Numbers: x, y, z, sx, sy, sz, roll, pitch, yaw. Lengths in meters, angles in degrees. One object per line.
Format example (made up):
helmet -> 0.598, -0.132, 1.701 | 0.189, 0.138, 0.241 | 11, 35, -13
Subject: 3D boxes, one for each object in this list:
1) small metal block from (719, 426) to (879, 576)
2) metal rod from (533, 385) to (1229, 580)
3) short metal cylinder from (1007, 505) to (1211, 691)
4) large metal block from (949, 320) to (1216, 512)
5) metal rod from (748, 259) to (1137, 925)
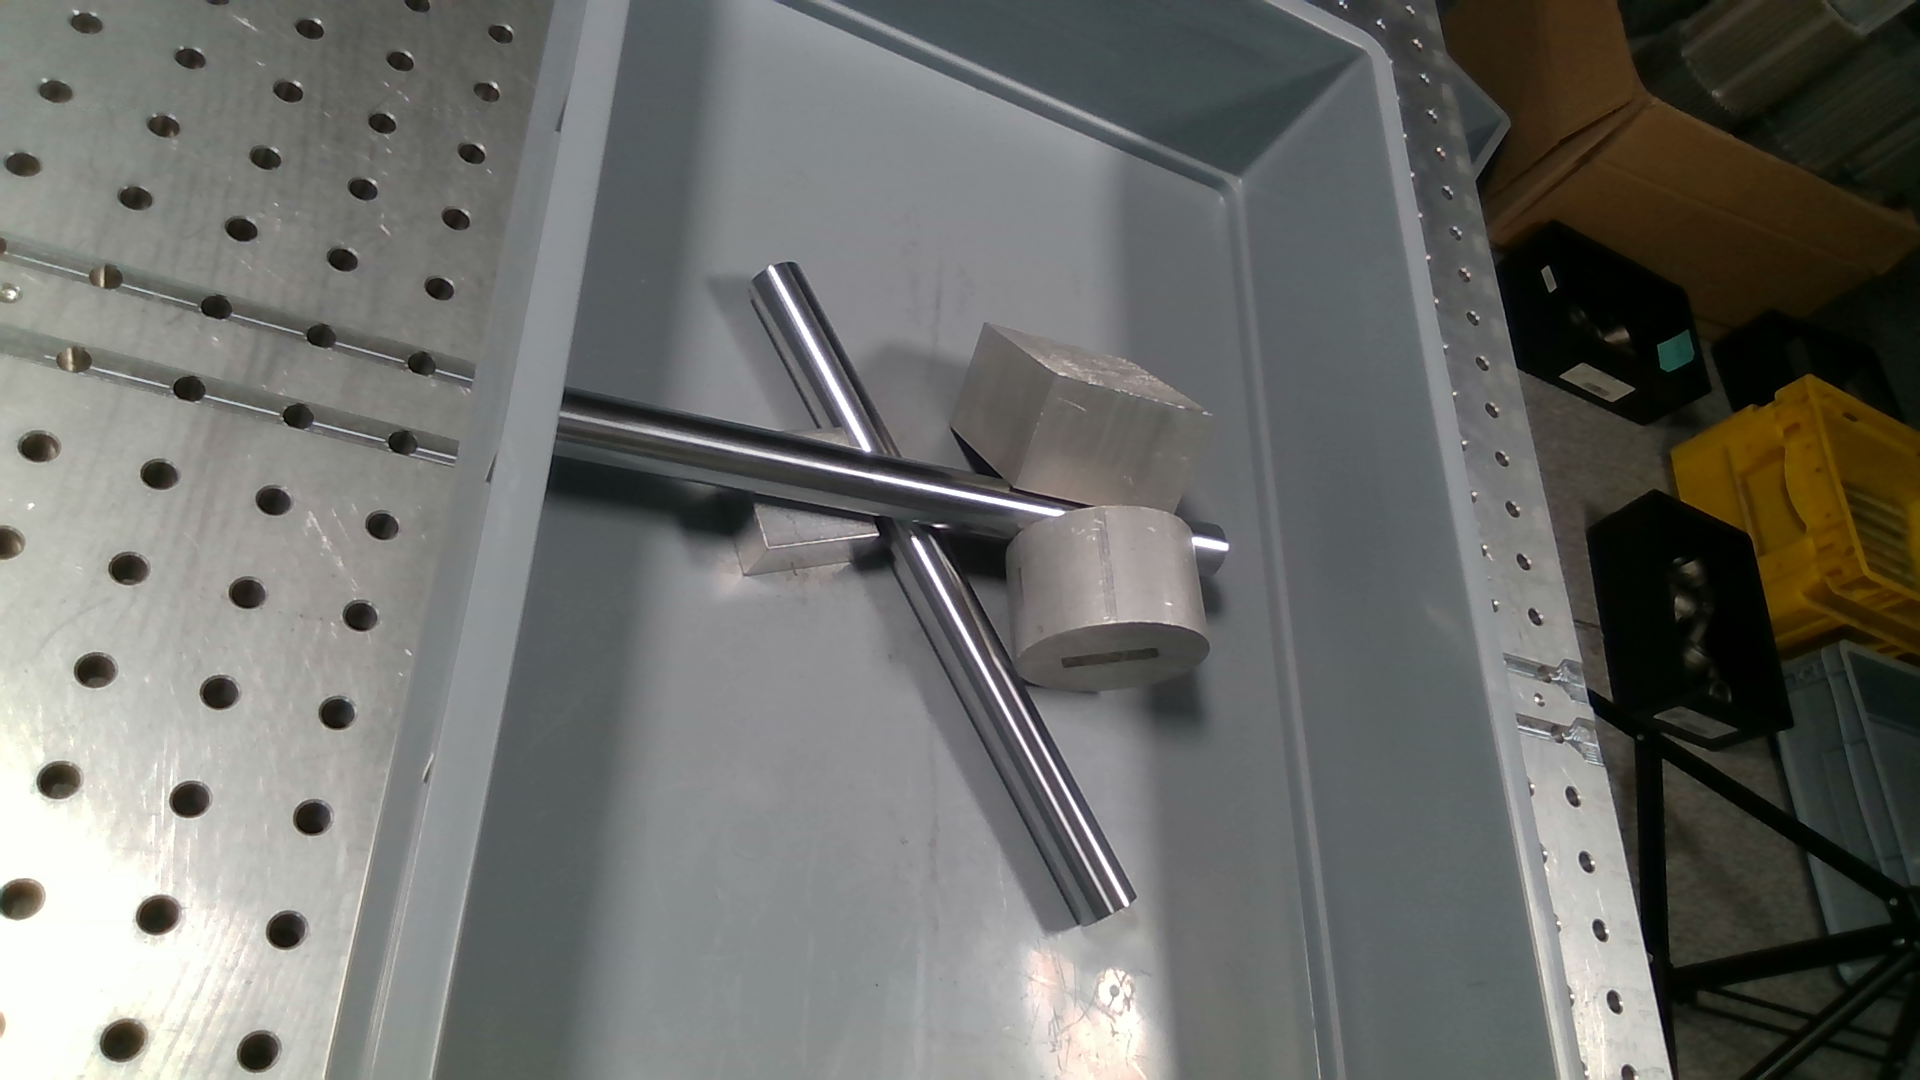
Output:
small metal block -> -0.067, -0.016, 0.552 | 0.050, 0.025, 0.050 | -8, 70, -34
metal rod -> -0.017, -0.018, 0.550 | 0.300, 0.025, 0.025 | 10, 60, -28
short metal cylinder -> 0.061, 0.026, 0.572 | 0.080, 0.080, 0.050 | 10, 62, -27
large metal block -> 0.051, -0.052, 0.603 | 0.080, 0.050, 0.080 | 11, 19, -27
metal rod -> -0.011, 0.016, 0.569 | 0.025, 0.025, 0.300 | -20, 77, -37
